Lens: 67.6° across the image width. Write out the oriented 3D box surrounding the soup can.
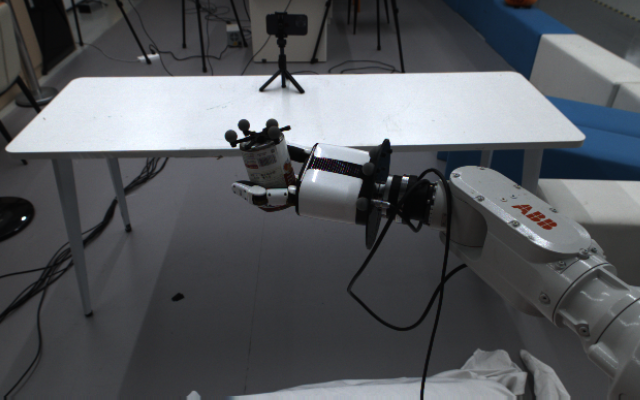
[{"bbox_3d":[-0.071,-0.043,0.707,0.067,0.101,0.067,-11,28,6],"label":"soup can"}]
